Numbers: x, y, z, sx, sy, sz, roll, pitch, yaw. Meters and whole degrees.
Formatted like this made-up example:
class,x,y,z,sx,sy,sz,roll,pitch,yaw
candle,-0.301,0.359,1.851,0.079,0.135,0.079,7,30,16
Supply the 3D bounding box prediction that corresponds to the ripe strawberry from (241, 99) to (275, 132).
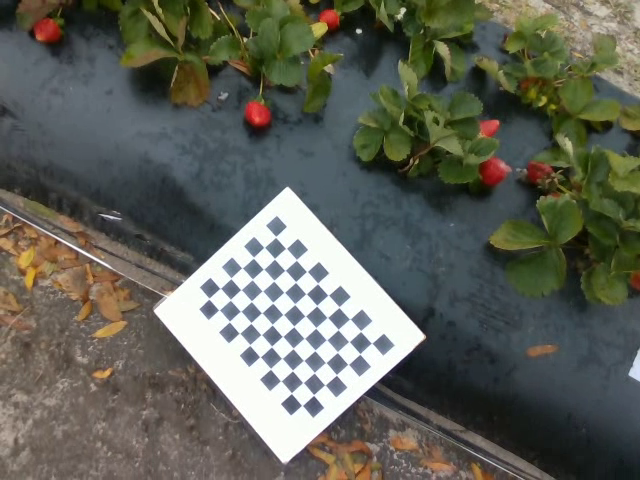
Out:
class,x,y,z,sx,sy,sz,roll,pitch,yaw
ripe strawberry,-0.098,-0.203,1.115,0.045,0.048,0.054,-5,39,7
